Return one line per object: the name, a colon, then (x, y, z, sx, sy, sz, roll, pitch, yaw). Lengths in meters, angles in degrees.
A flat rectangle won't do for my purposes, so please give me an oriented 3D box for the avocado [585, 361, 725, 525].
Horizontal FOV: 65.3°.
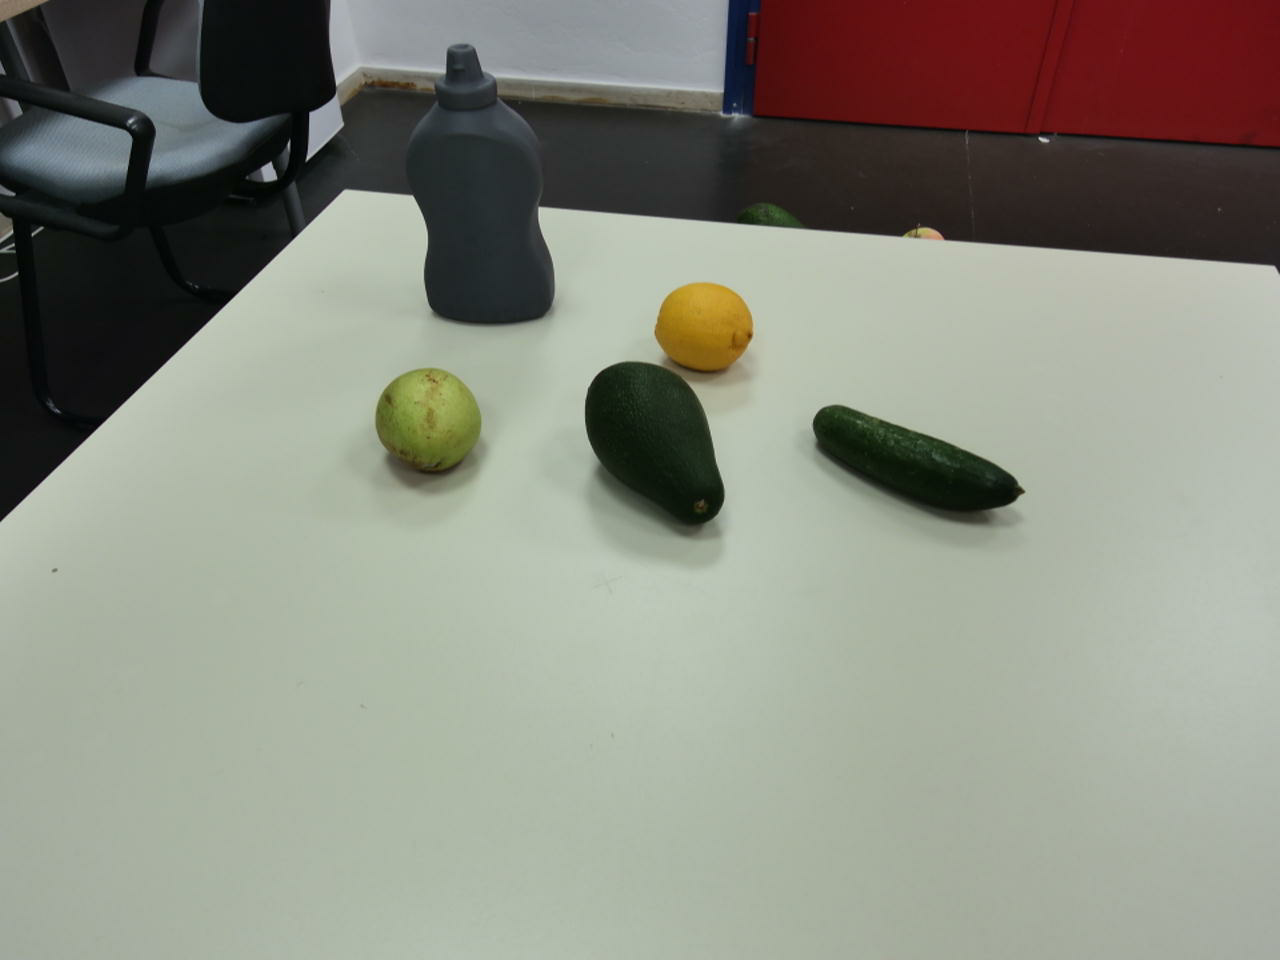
avocado: (0.006, -0.025, 0.589, 0.072, 0.071, 0.109, -7, 39, -8)
